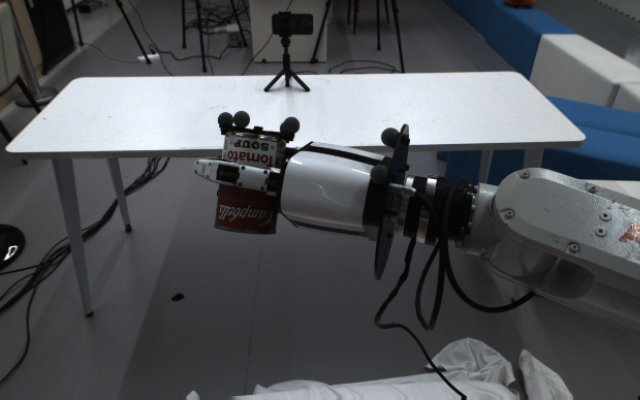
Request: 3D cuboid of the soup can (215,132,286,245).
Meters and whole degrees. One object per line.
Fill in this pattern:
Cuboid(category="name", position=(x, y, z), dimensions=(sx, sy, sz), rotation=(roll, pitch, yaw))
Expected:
Cuboid(category="soup can", position=(-0.073, -0.017, 0.523), dimensions=(0.067, 0.101, 0.067), rotation=(7, 3, 0))
